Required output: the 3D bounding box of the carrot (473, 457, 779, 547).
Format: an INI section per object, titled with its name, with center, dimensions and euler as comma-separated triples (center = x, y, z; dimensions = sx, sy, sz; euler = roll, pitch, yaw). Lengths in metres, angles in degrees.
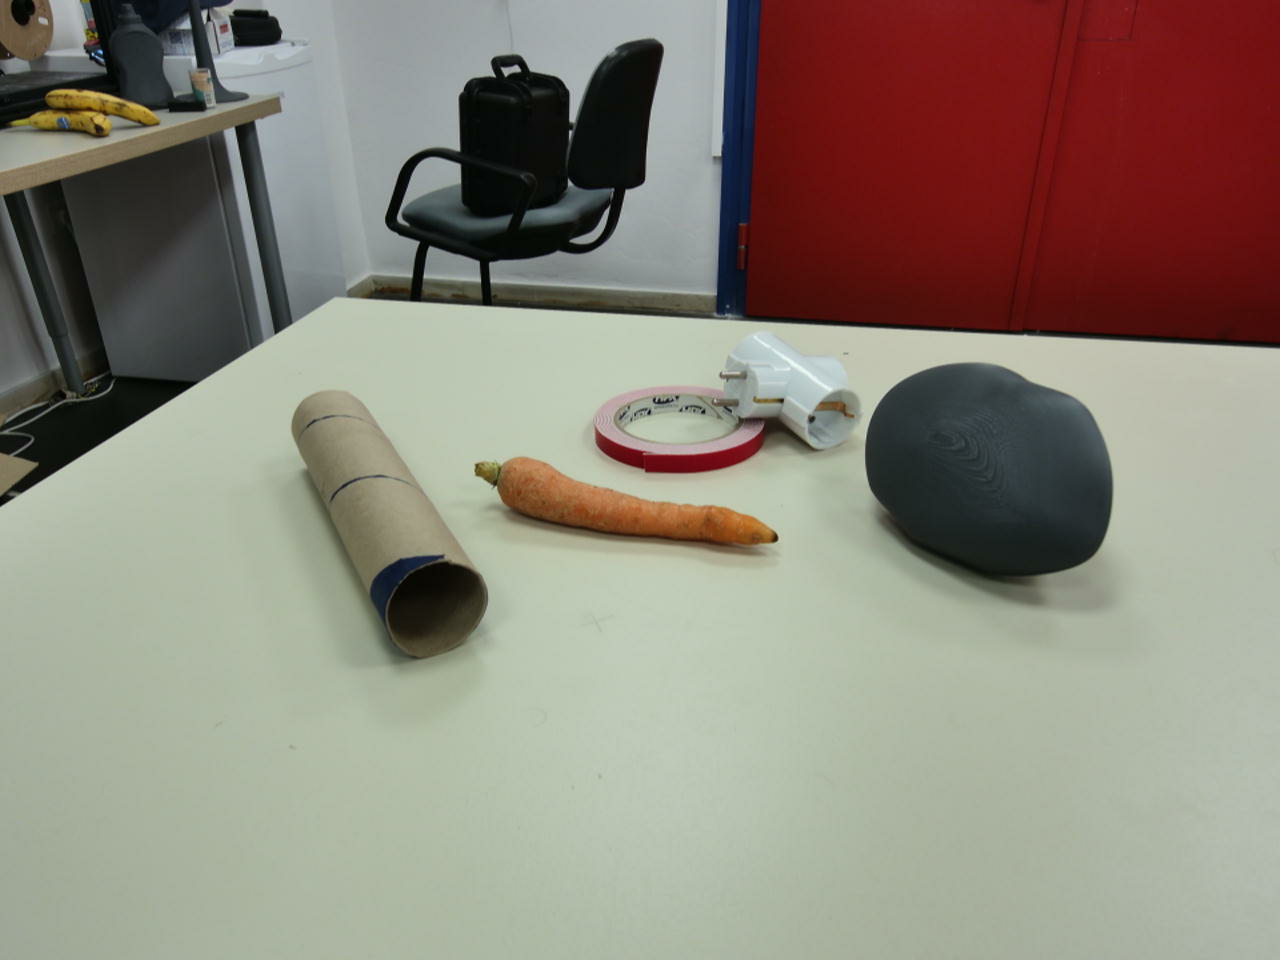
[carrot]
center = -0.010, 0.013, 0.528
dimensions = 0.173, 0.032, 0.030
euler = 10, 27, 20
